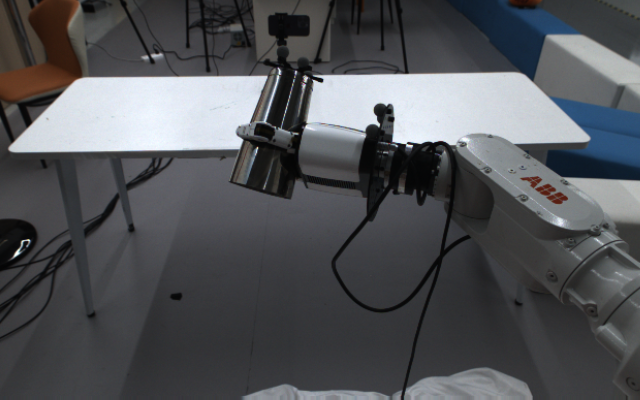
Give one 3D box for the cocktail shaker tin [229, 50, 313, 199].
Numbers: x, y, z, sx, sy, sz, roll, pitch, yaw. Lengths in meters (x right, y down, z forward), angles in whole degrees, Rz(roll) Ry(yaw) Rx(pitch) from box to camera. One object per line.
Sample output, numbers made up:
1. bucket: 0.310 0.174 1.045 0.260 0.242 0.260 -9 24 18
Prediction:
1. cocktail shaker tin: -0.062 -0.095 0.687 0.093 0.170 0.093 15 -4 1
